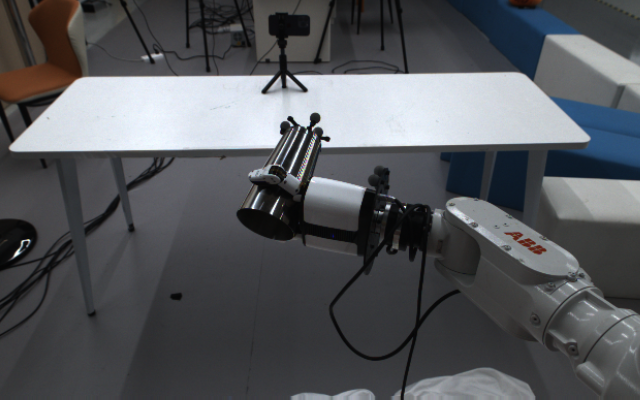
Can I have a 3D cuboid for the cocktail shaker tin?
[{"bbox_3d":[-0.058,-0.032,0.760,0.093,0.093,0.170,13,61,16],"label":"cocktail shaker tin"}]
